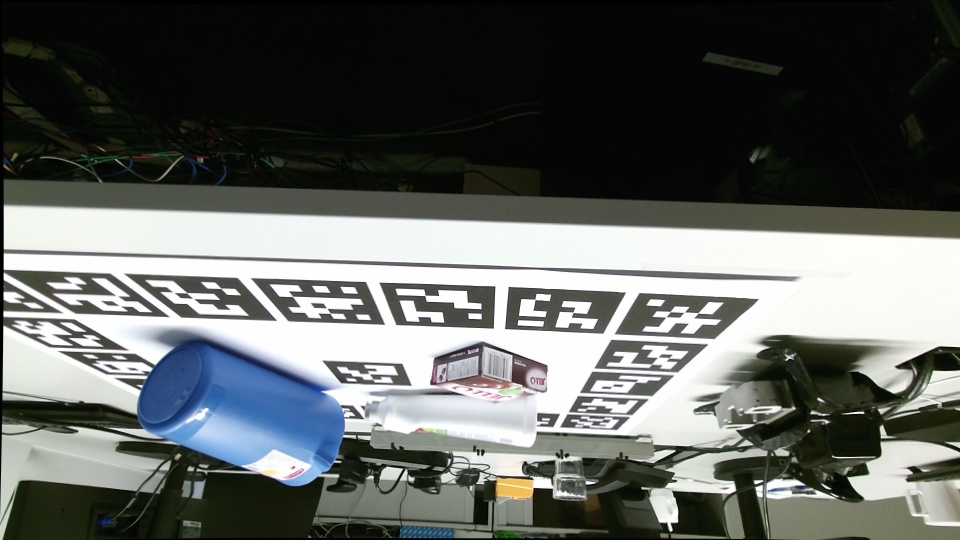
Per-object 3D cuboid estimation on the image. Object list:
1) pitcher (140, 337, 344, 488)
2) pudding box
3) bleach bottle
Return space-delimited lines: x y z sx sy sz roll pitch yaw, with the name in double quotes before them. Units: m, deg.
"pitcher" -0.309 0.184 0.707 0.188 0.133 0.243 23 159 40
"pudding box" 0.011 0.139 0.649 0.114 0.038 0.090 31 145 -34
"bleach bottle" -0.046 0.234 0.796 0.252 0.067 0.103 2 144 6
